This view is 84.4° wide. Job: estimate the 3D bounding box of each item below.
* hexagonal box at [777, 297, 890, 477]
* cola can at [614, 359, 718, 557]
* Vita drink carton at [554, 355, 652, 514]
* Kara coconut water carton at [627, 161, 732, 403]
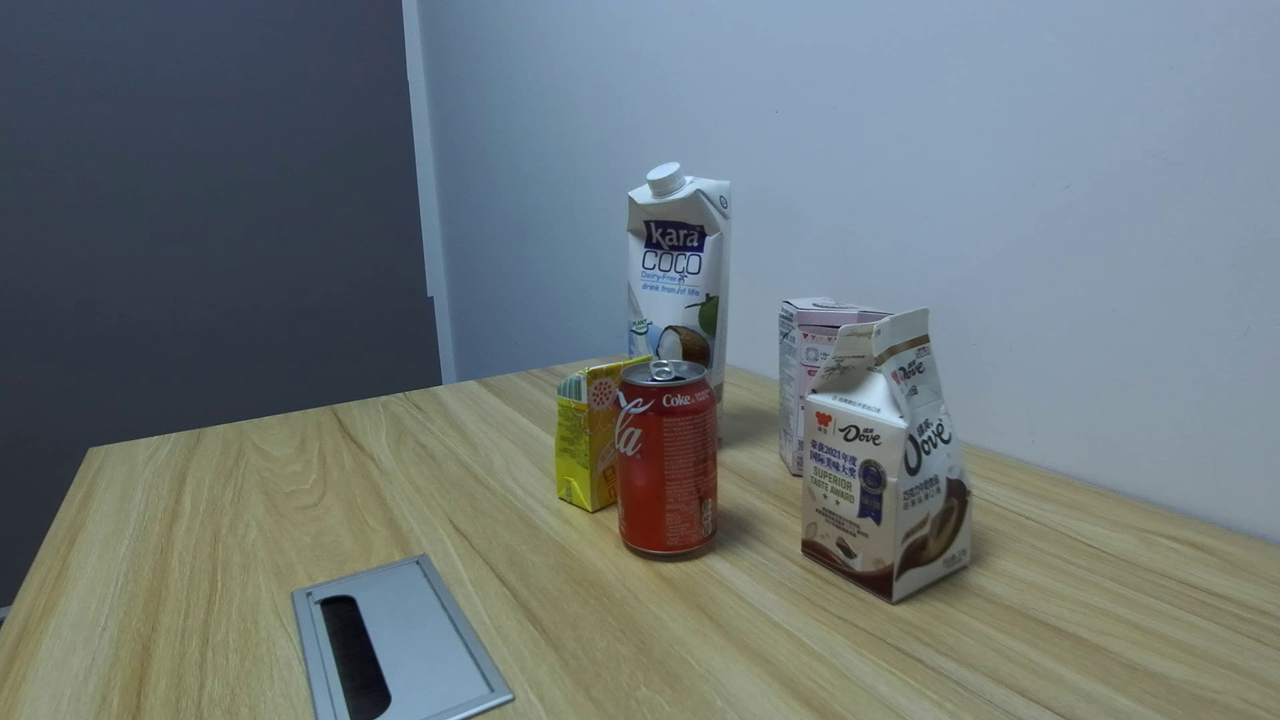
[{"bbox_3d":[0.153,0.022,0.558,0.092,0.135,0.085,6,14,30],"label":"hexagonal box"},{"bbox_3d":[0.017,0.062,0.457,0.068,0.120,0.068,-3,15,1],"label":"cola can"},{"bbox_3d":[-0.027,0.050,0.529,0.071,0.109,0.046,-14,20,-42],"label":"Vita drink carton"},{"bbox_3d":[0.034,-0.043,0.608,0.099,0.244,0.071,6,16,32],"label":"Kara coconut water carton"}]
